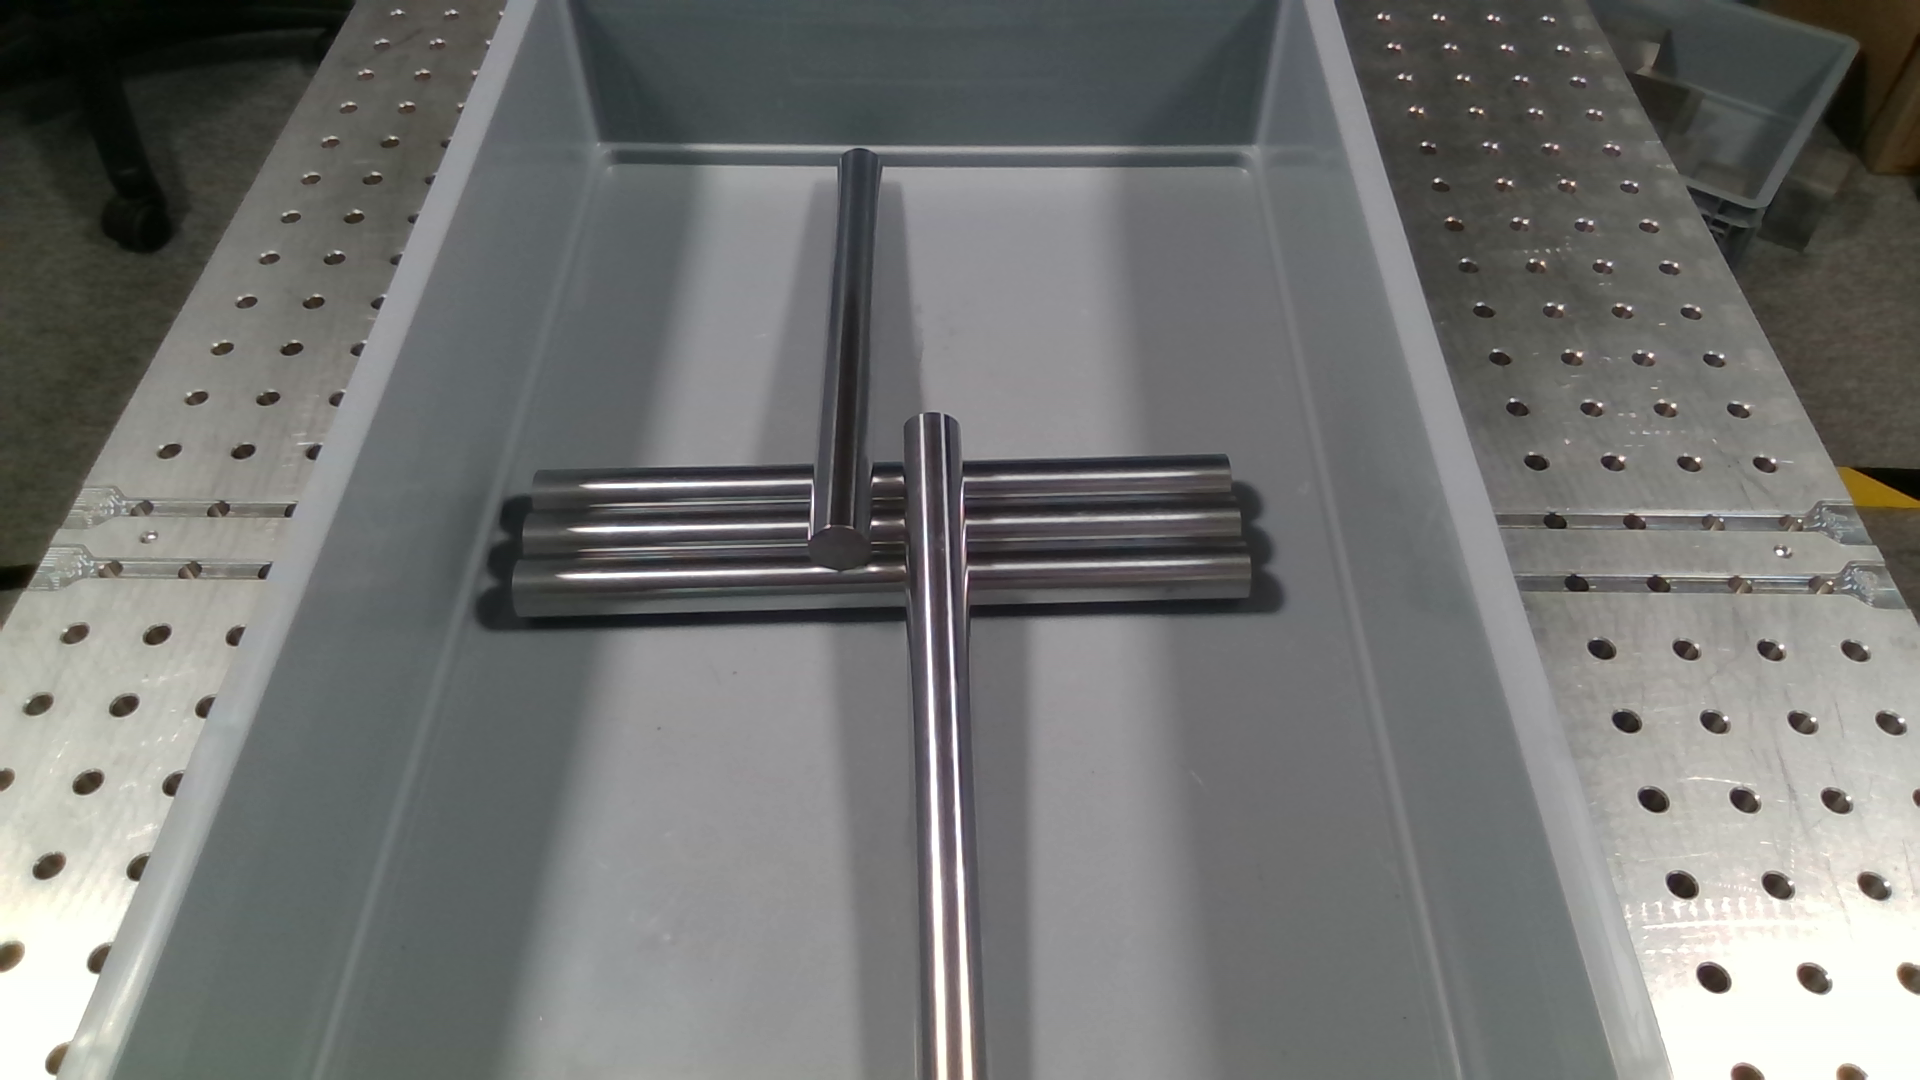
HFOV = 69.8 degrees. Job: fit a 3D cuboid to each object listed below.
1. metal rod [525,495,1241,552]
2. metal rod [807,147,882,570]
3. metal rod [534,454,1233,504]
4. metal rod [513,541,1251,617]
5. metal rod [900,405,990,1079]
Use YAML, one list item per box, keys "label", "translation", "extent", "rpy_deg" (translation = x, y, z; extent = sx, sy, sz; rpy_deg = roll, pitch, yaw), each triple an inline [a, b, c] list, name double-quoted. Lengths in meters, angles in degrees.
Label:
- label: "metal rod"
  translation: [-0.032, -0.003, 0.589]
  extent: [0.300, 0.025, 0.025]
  rpy_deg: [-1, 50, -1]
- label: "metal rod"
  translation: [-0.052, -0.101, 0.649]
  extent: [0.025, 0.025, 0.299]
  rpy_deg: [-1, 44, -1]
- label: "metal rod"
  translation: [-0.032, -0.022, 0.604]
  extent: [0.300, 0.025, 0.025]
  rpy_deg: [-1, 50, -1]
- label: "metal rod"
  translation: [-0.031, 0.016, 0.572]
  extent: [0.300, 0.025, 0.025]
  rpy_deg: [-1, 50, -1]
- label: "metal rod"
  translation: [-0.007, 0.075, 0.500]
  extent: [0.025, 0.025, 0.299]
  rpy_deg: [-2, 56, -1]
